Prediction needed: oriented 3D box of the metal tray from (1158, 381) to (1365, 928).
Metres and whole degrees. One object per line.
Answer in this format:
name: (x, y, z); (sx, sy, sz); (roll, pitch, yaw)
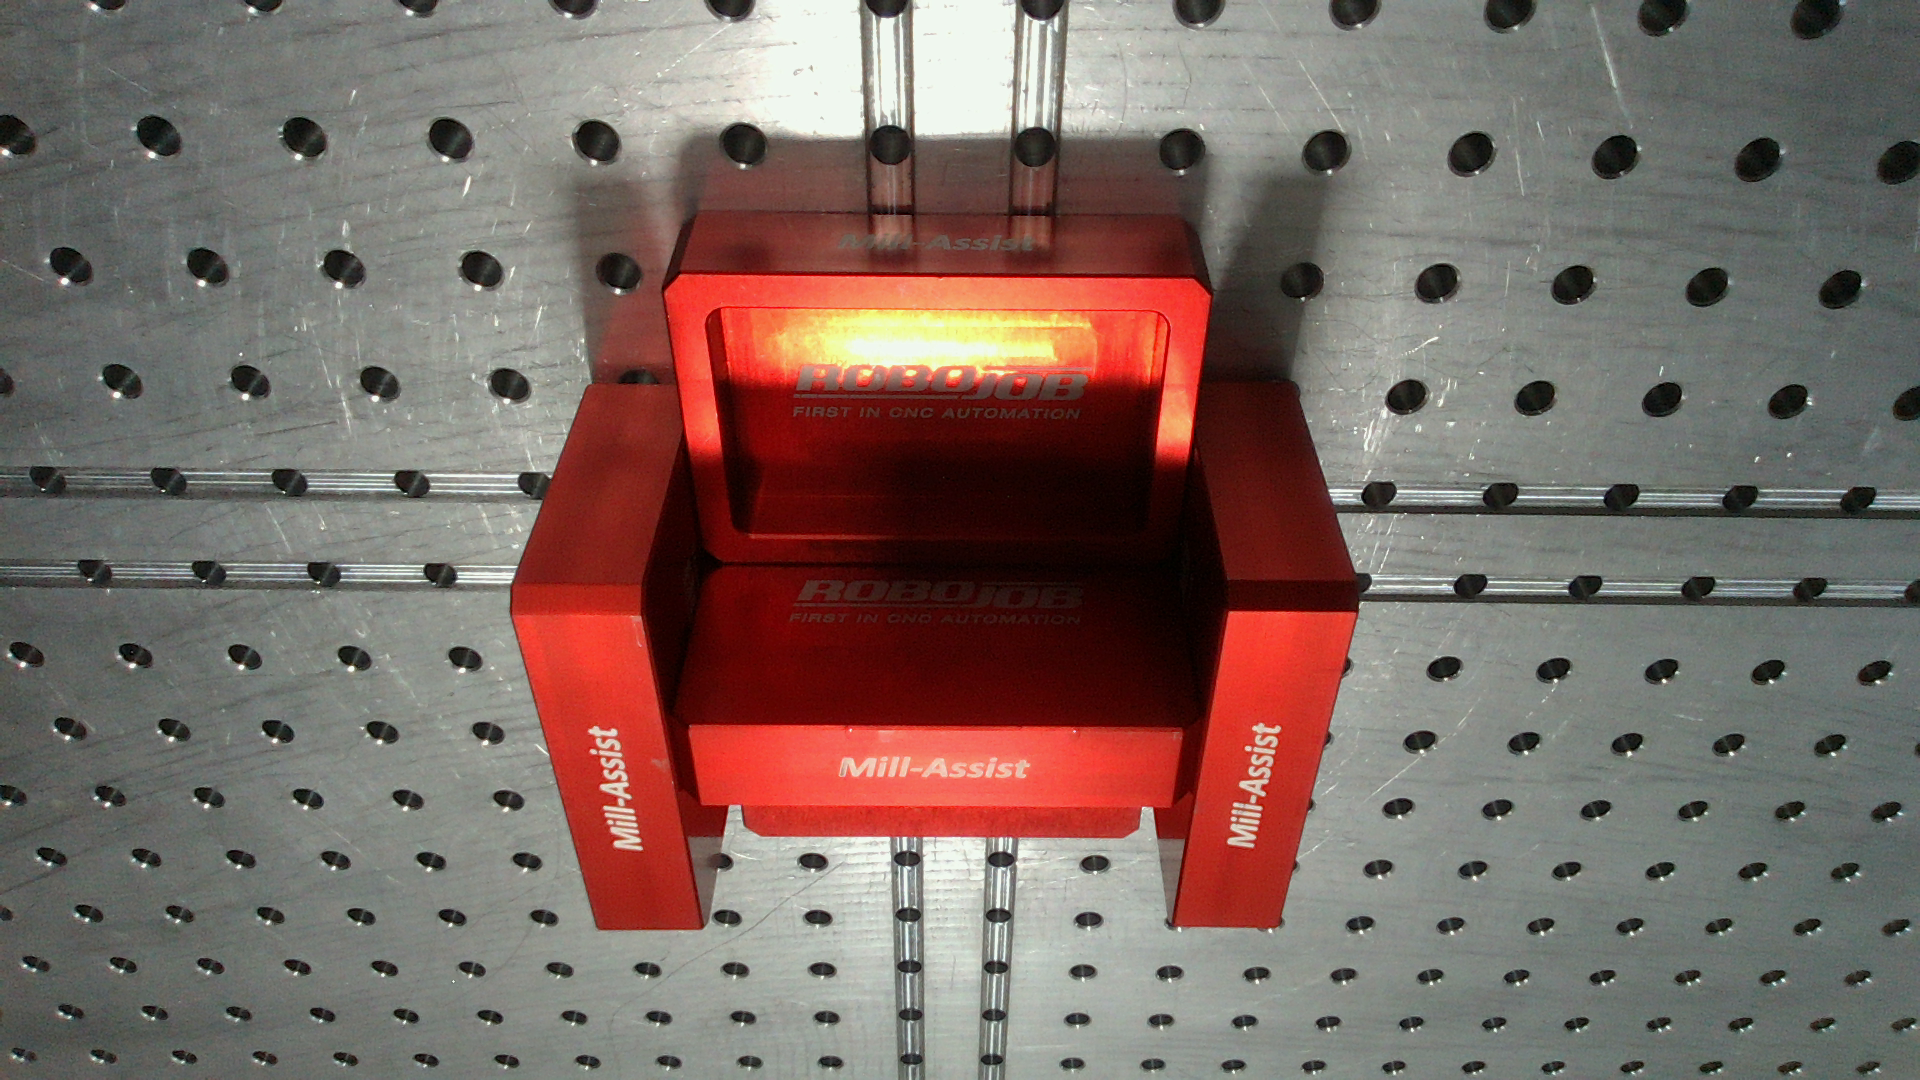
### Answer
metal tray: (0.075, 0.033, 0.379); (0.030, 0.090, 0.130); (0, 130, 0)

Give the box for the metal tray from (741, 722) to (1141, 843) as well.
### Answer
metal tray: (-0.006, 0.056, 0.436); (0.130, 0.030, 0.090); (0, 130, -1)

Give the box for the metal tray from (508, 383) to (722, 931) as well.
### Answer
metal tray: (-0.086, 0.034, 0.378); (0.030, 0.090, 0.130); (0, 130, 0)

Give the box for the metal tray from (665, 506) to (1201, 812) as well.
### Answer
metal tray: (-0.006, 0.029, 0.373); (0.130, 0.090, 0.030); (1, 130, -1)

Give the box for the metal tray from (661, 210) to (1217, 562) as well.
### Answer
metal tray: (-0.005, -0.038, 0.358); (0.130, 0.030, 0.090); (0, 130, -1)
